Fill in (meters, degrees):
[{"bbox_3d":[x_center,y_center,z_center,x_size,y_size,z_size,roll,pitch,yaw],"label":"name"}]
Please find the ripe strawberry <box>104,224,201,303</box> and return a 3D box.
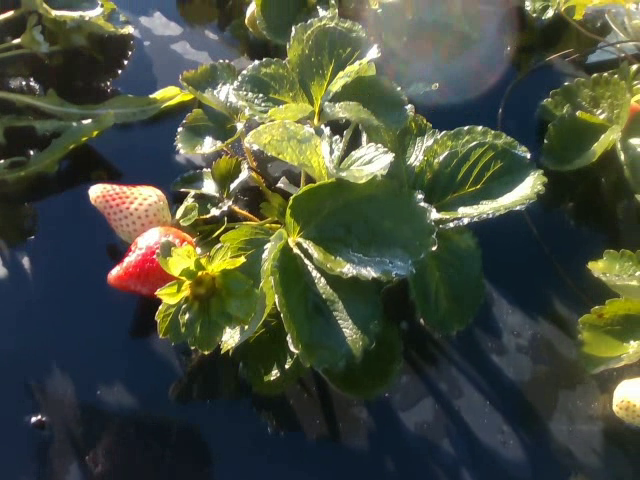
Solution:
[{"bbox_3d":[-0.081,0.012,0.288,0.040,0.038,0.055,12,4,34],"label":"ripe strawberry"}]
